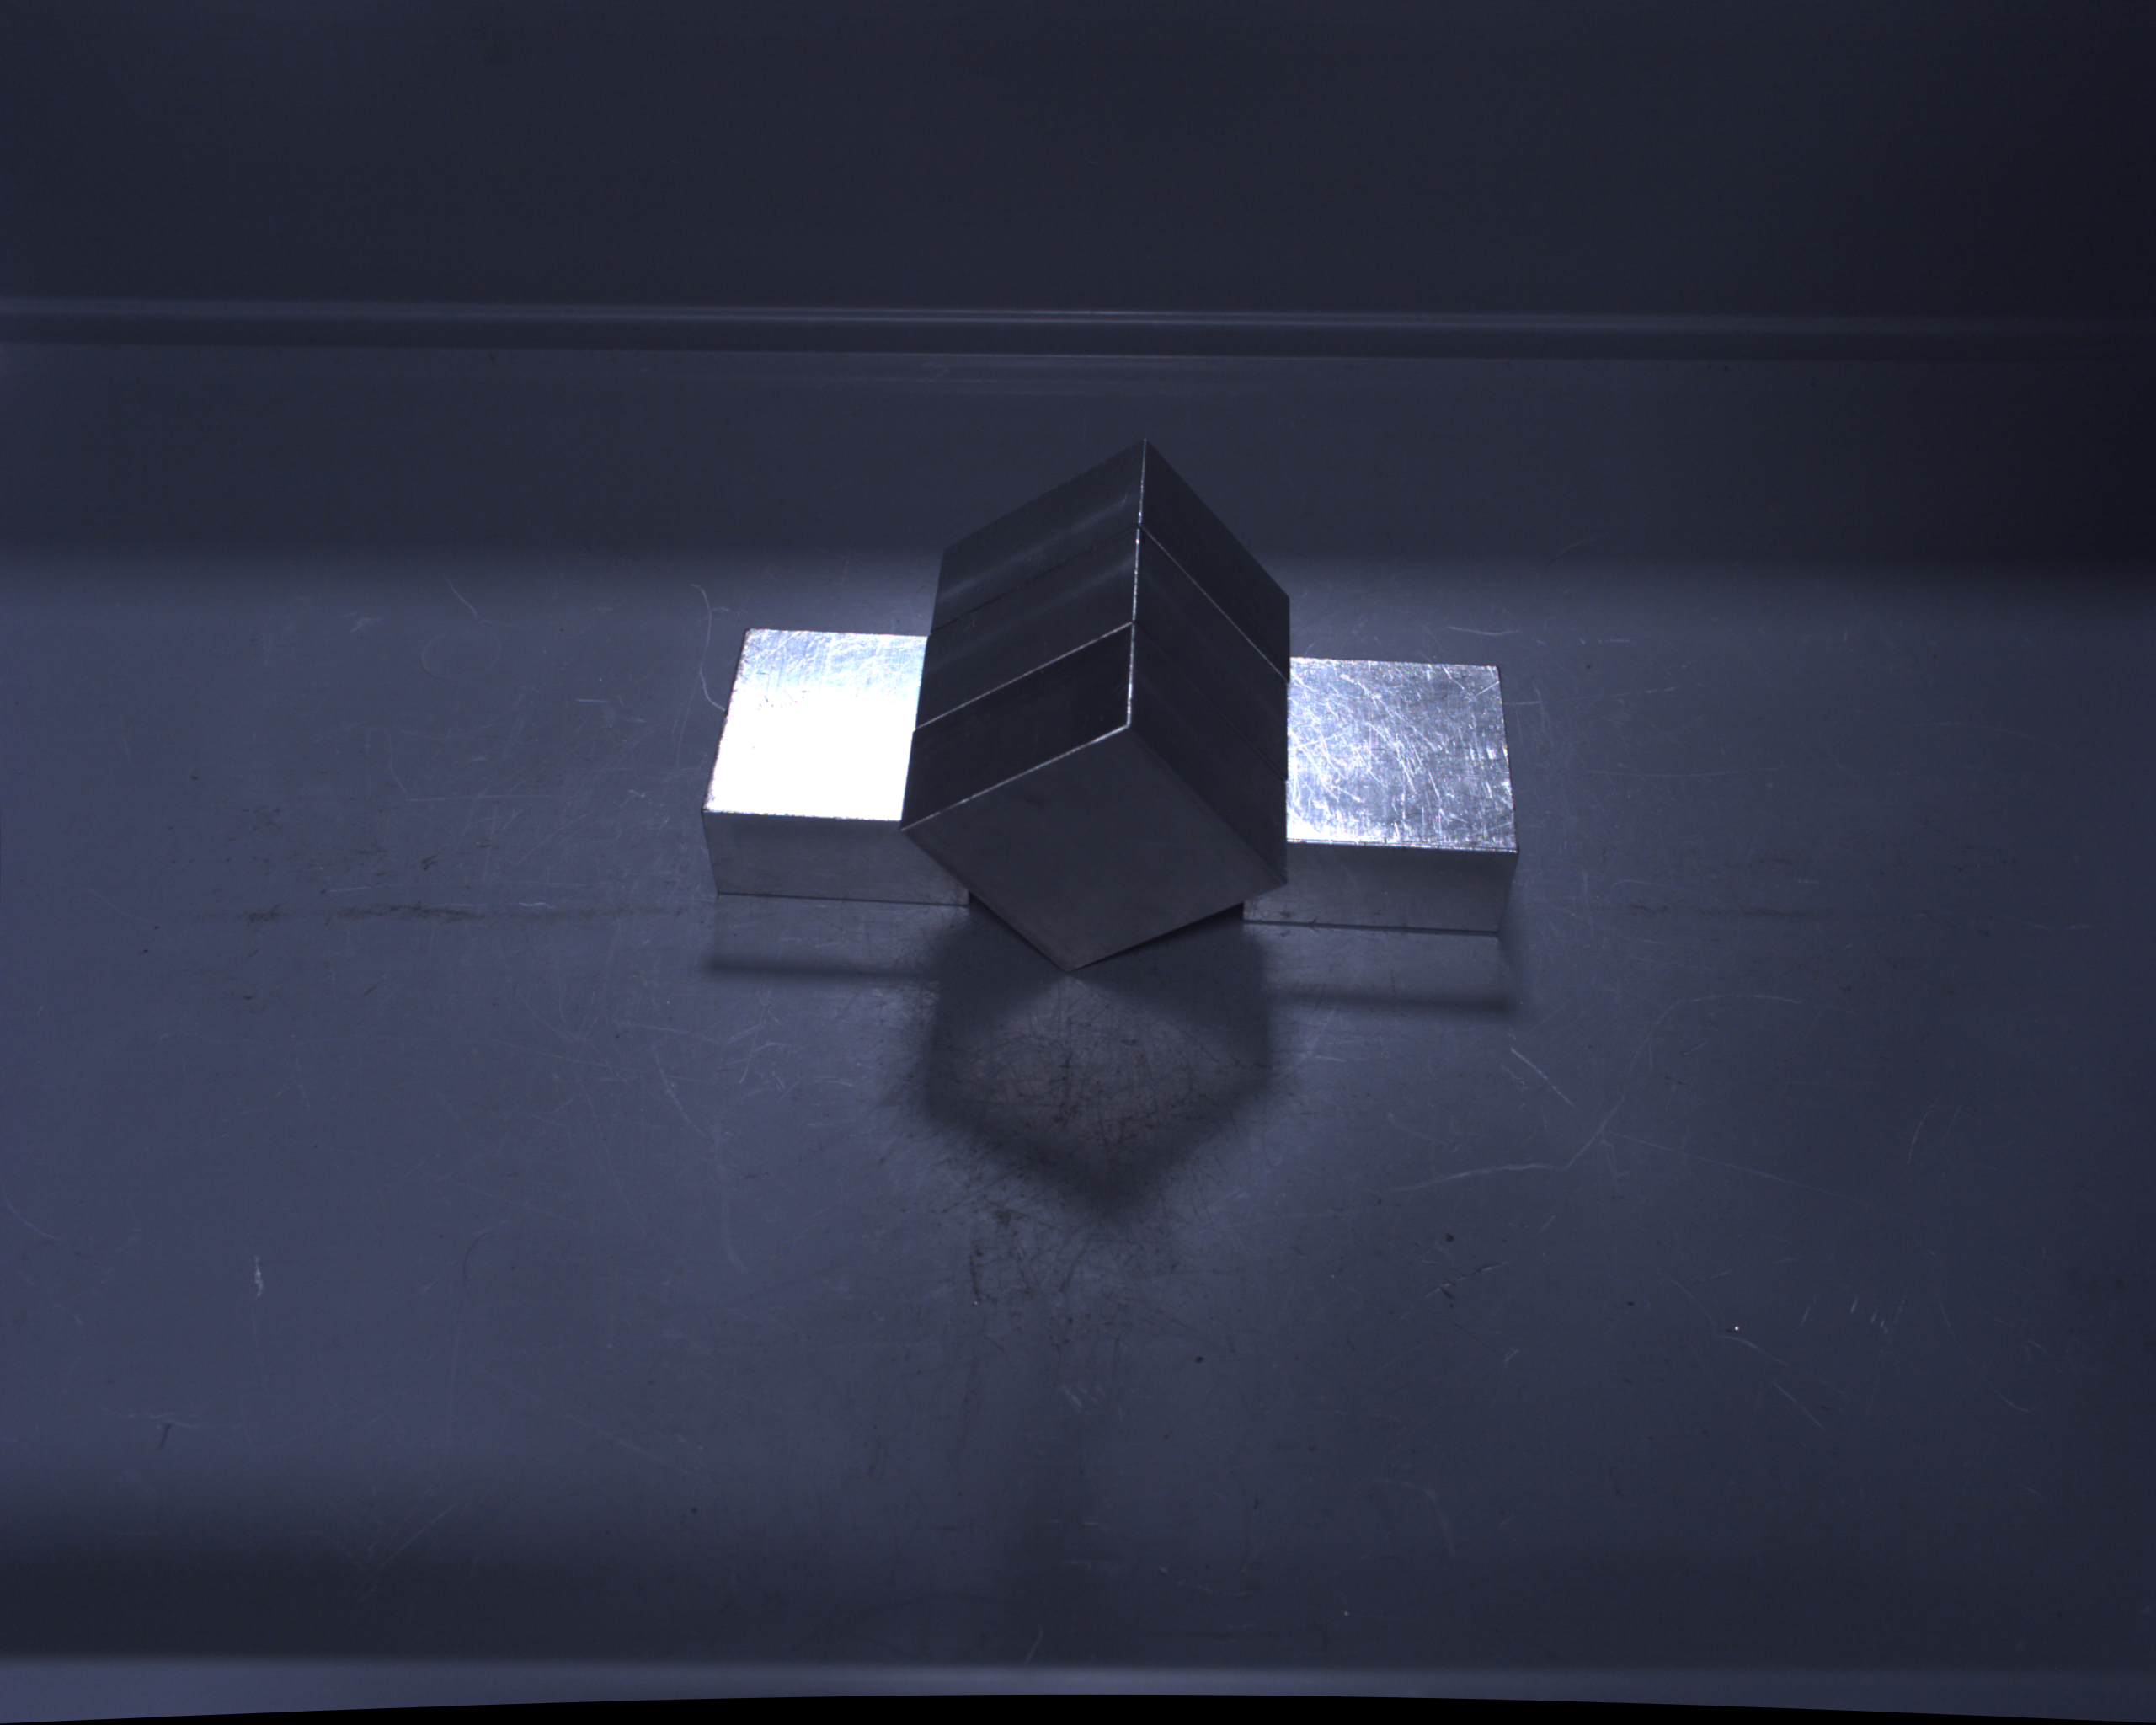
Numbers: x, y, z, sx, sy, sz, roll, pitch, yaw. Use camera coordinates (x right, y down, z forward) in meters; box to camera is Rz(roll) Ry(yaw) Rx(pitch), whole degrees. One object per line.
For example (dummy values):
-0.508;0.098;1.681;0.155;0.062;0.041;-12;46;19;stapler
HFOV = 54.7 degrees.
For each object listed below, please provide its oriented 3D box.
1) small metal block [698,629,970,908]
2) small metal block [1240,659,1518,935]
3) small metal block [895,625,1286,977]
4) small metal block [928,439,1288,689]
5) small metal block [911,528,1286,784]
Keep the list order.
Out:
-0.045;-0.019;0.419;0.050;0.025;0.050;3;50;2;small metal block
0.058;-0.014;0.416;0.050;0.025;0.050;2;50;1;small metal block
0.003;-0.010;0.382;0.050;0.050;0.025;-24;43;28;small metal block
0.007;-0.049;0.414;0.050;0.050;0.025;-23;43;28;small metal block
0.005;-0.029;0.398;0.050;0.050;0.025;-24;43;28;small metal block
